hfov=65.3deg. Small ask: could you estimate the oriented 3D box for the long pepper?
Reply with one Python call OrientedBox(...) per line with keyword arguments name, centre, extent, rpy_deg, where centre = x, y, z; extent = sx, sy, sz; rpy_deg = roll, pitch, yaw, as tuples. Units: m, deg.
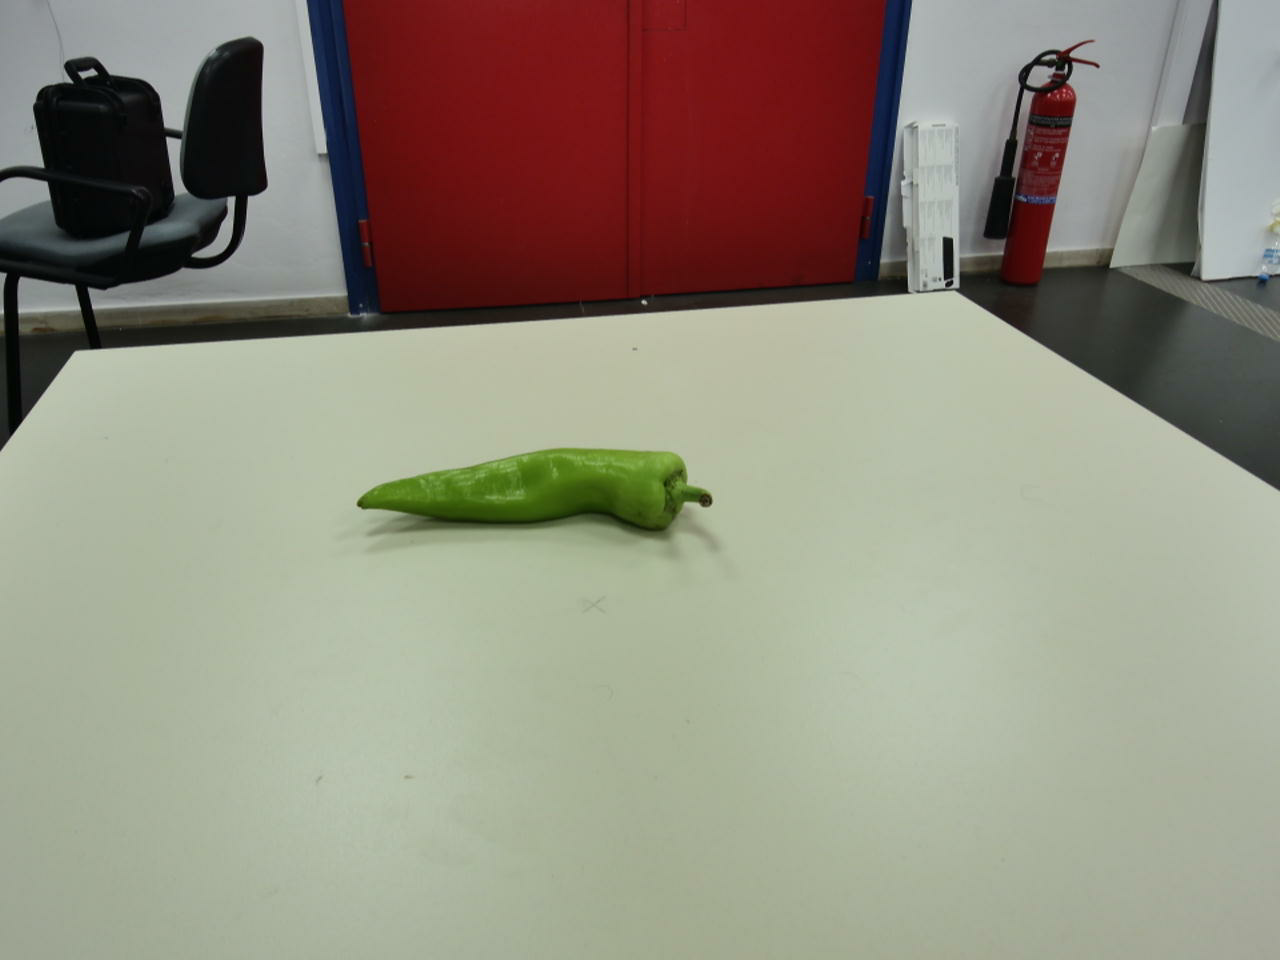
OrientedBox(name="long pepper", centre=(-0.058, 0.004, 0.591), extent=(0.205, 0.045, 0.065), rpy_deg=(2, 27, 3))
